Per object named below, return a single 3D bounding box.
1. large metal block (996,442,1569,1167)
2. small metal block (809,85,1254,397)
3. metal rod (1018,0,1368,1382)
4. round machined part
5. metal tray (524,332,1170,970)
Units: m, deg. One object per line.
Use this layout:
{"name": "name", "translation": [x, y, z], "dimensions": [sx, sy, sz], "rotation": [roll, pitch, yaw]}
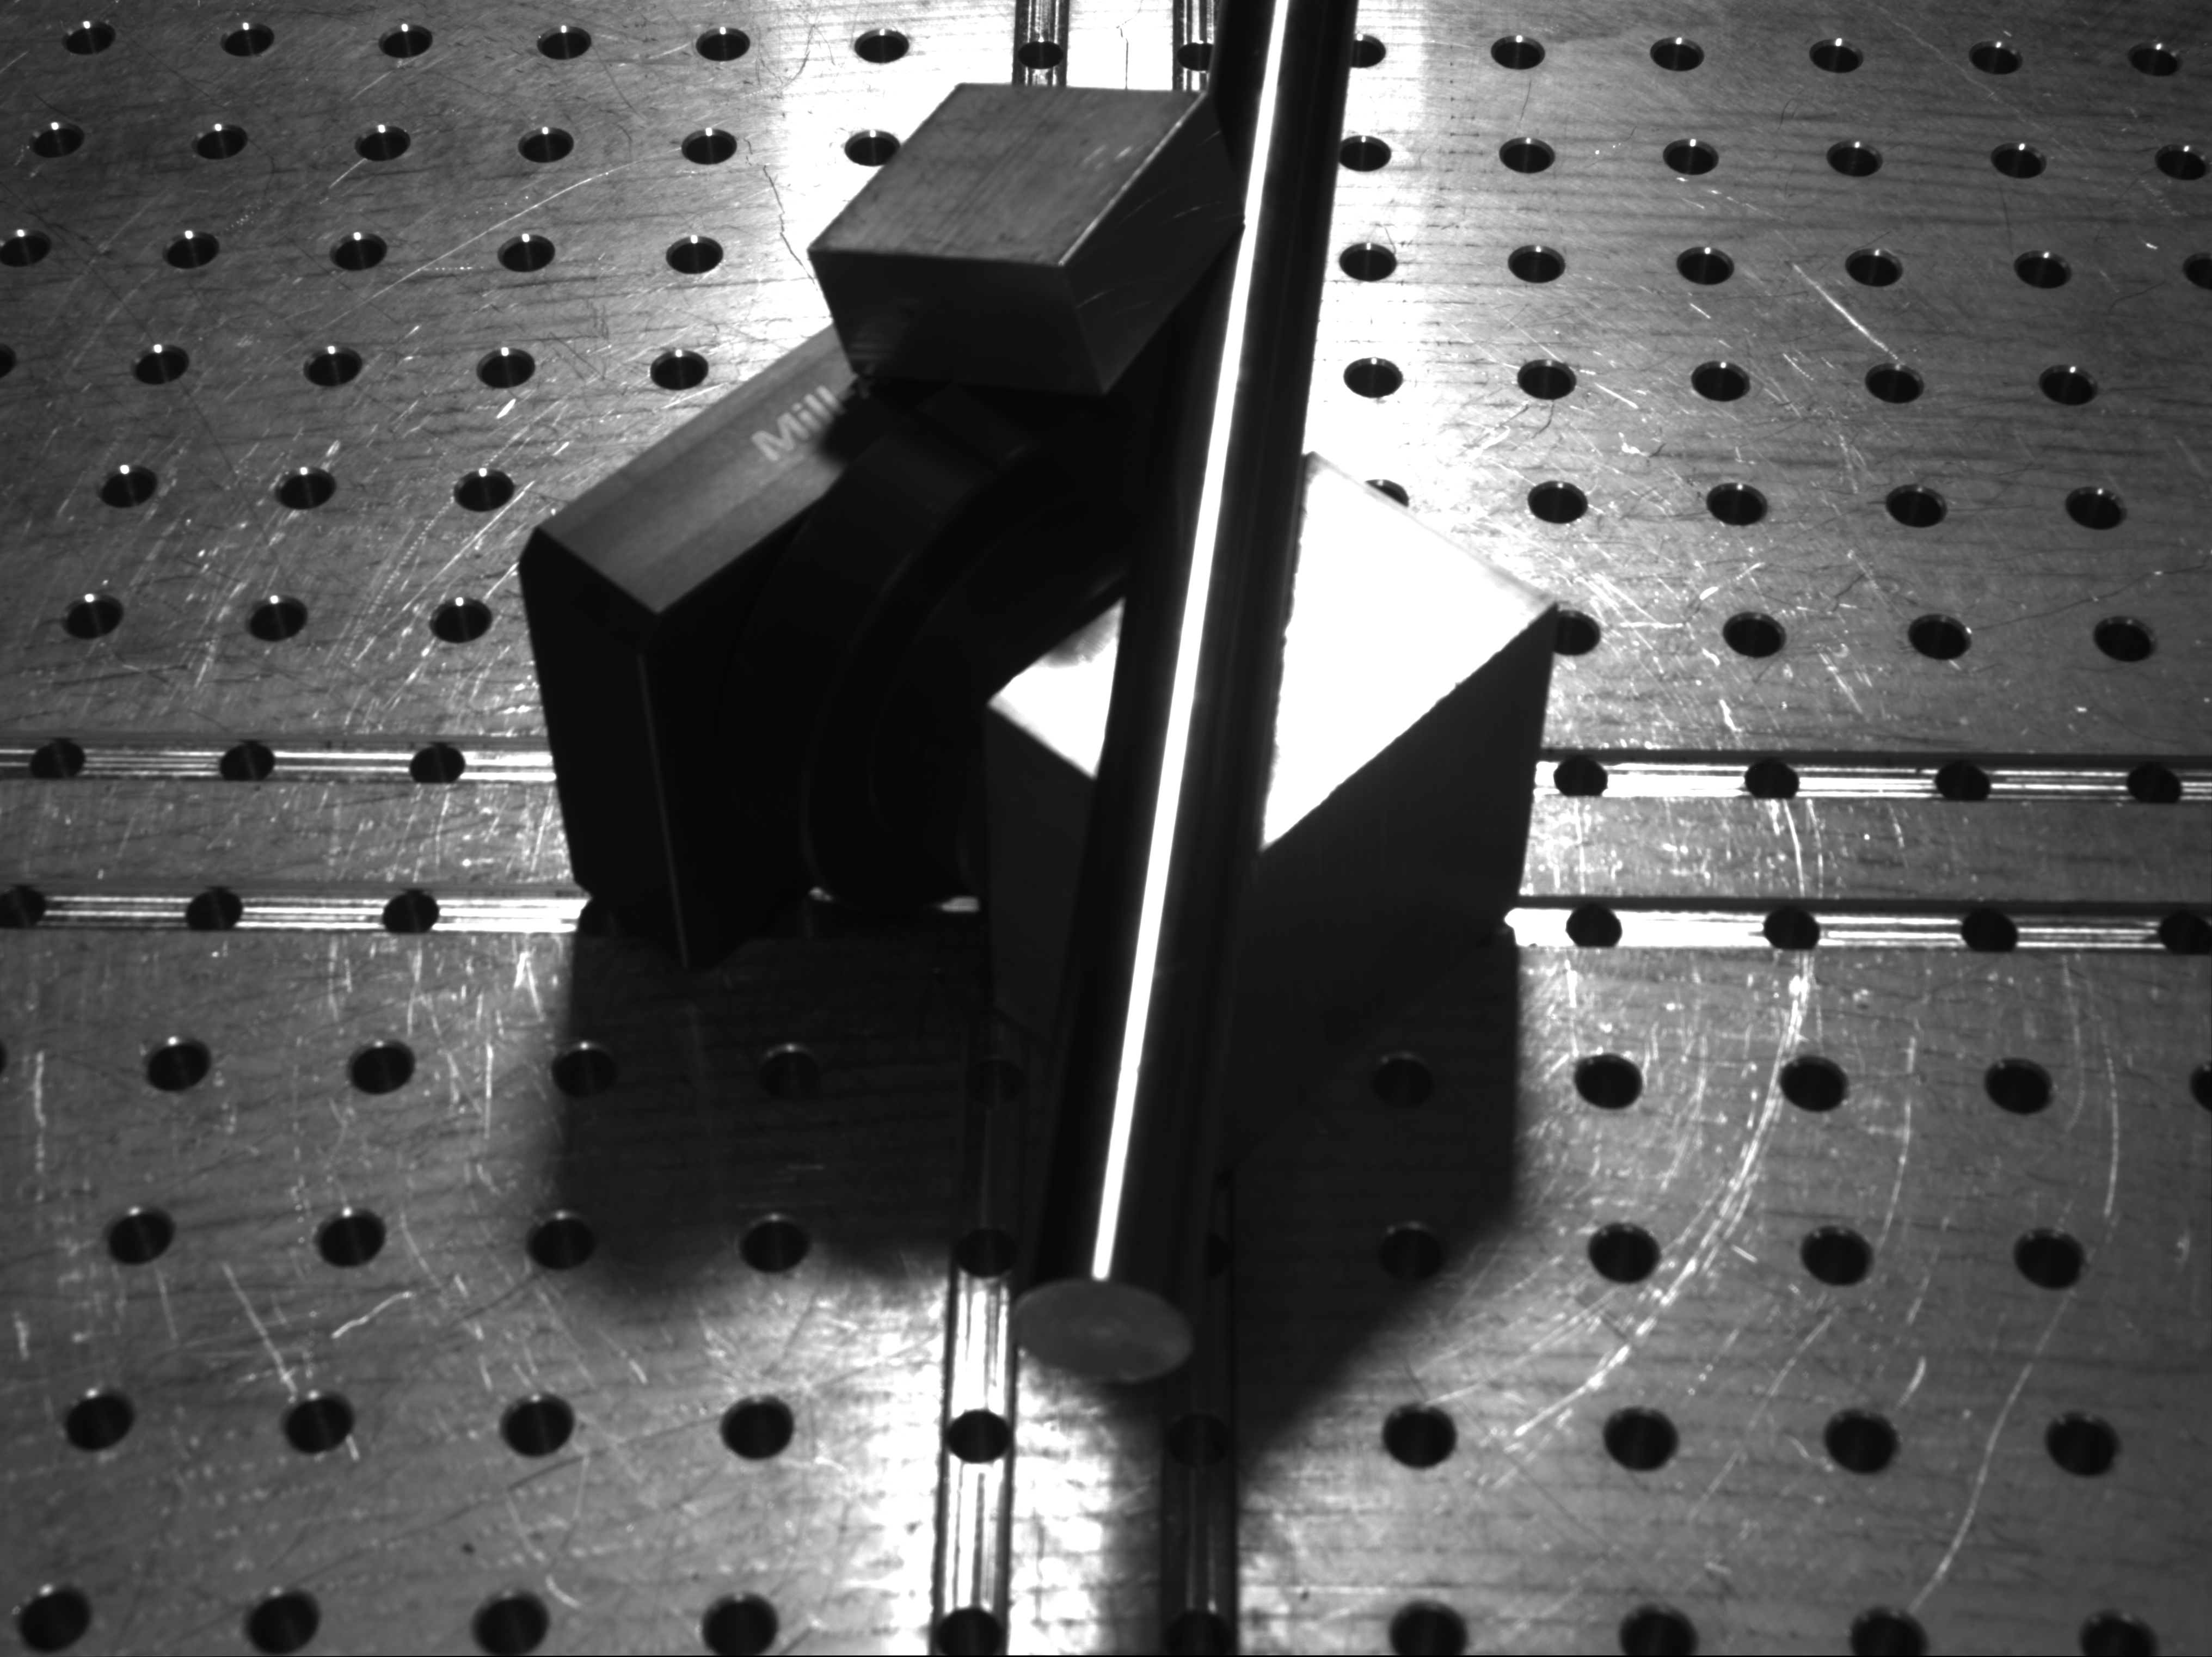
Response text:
{"name": "large metal block", "translation": [0.029, -0.003, 0.608], "dimensions": [0.050, 0.080, 0.080], "rotation": [35, 58, 26]}
{"name": "small metal block", "translation": [-0.012, -0.097, 0.599], "dimensions": [0.050, 0.025, 0.050], "rotation": [9, 46, 32]}
{"name": "metal rod", "translation": [0.019, -0.047, 0.580], "dimensions": [0.025, 0.025, 0.300], "rotation": [5, 50, 5]}
{"name": "round machined part", "translation": [-0.016, -0.025, 0.624], "dimensions": [0.042, 0.098, 0.098], "rotation": [35, 58, 26]}
{"name": "metal tray", "translation": [-0.038, -0.045, 0.641], "dimensions": [0.030, 0.090, 0.130], "rotation": [35, 58, 26]}
